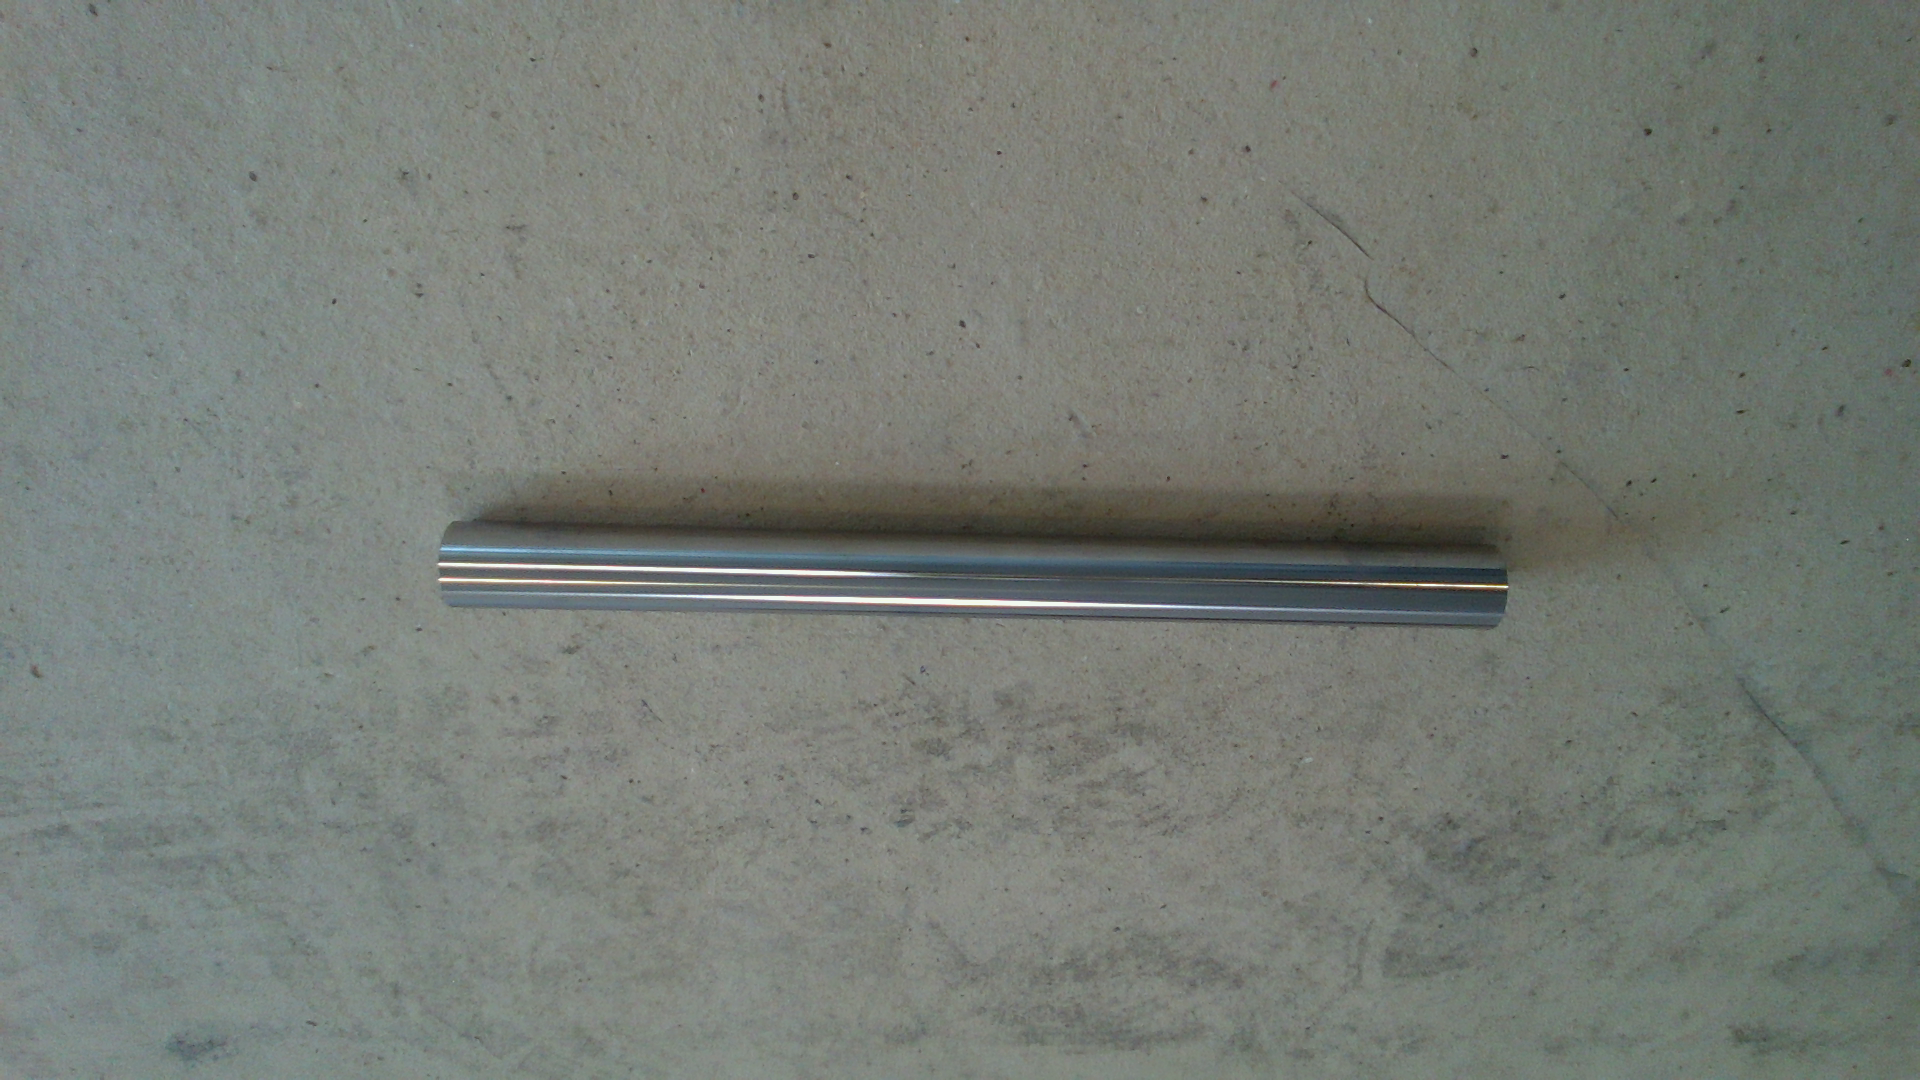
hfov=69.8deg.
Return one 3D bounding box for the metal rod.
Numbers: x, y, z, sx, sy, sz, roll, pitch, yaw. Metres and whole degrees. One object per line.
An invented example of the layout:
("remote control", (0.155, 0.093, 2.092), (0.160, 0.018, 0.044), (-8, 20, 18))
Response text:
("metal rod", (0.004, 0.010, 0.399), (0.300, 0.025, 0.025), (1, 130, -1))
